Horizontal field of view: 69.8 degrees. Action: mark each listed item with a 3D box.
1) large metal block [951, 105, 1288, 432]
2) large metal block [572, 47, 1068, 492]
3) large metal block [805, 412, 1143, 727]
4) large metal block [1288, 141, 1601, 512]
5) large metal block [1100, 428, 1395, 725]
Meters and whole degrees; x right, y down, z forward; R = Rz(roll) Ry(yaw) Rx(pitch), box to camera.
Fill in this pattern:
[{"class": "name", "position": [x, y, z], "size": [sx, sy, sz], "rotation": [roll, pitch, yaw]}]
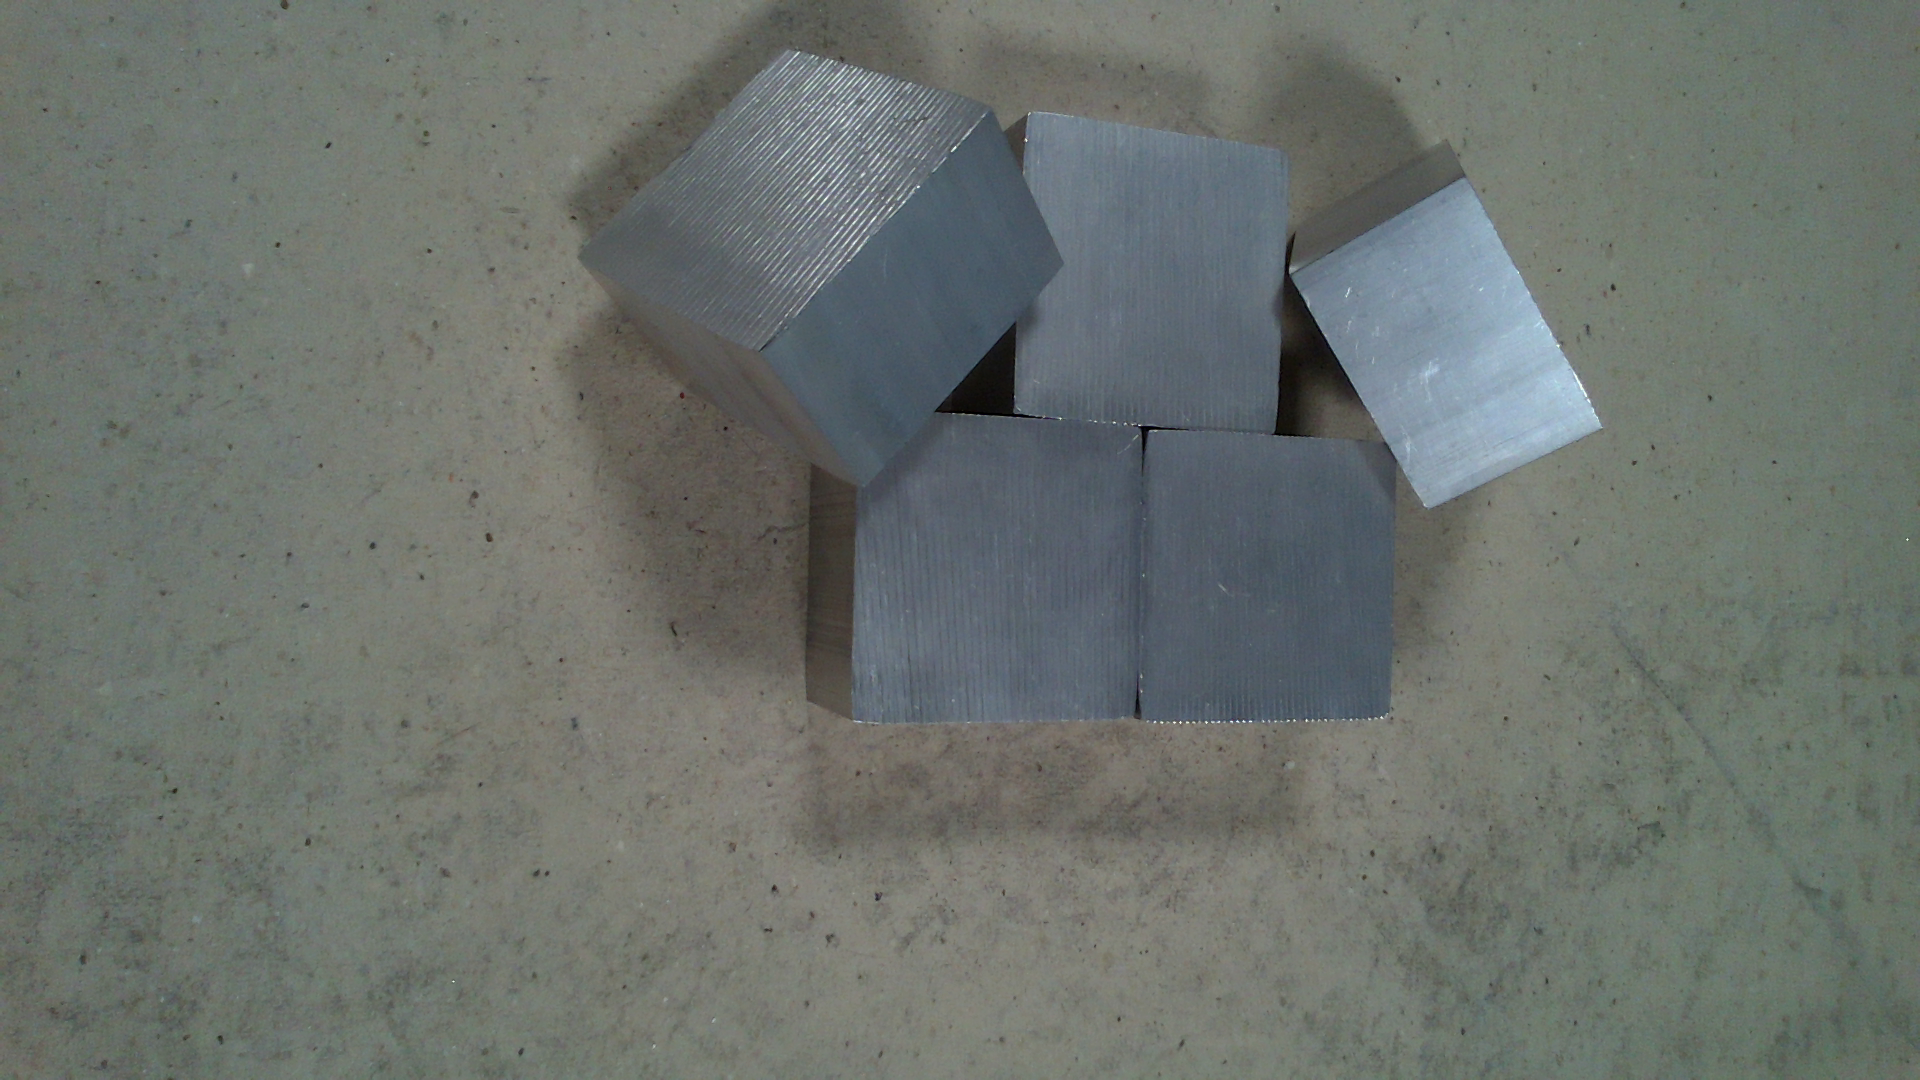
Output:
[{"class": "large metal block", "position": [0.045, -0.072, 0.397], "size": [0.080, 0.050, 0.080], "rotation": [3, 89, -20]}, {"class": "large metal block", "position": [-0.035, -0.070, 0.344], "size": [0.080, 0.080, 0.050], "rotation": [-49, 139, -13]}, {"class": "large metal block", "position": [0.003, 0.008, 0.381], "size": [0.080, 0.050, 0.080], "rotation": [1, 90, -20]}, {"class": "large metal block", "position": [0.141, -0.067, 0.409], "size": [0.050, 0.080, 0.080], "rotation": [-29, 102, 24]}, {"class": "large metal block", "position": [0.079, 0.011, 0.407], "size": [0.080, 0.050, 0.080], "rotation": [1, 90, -20]}]
